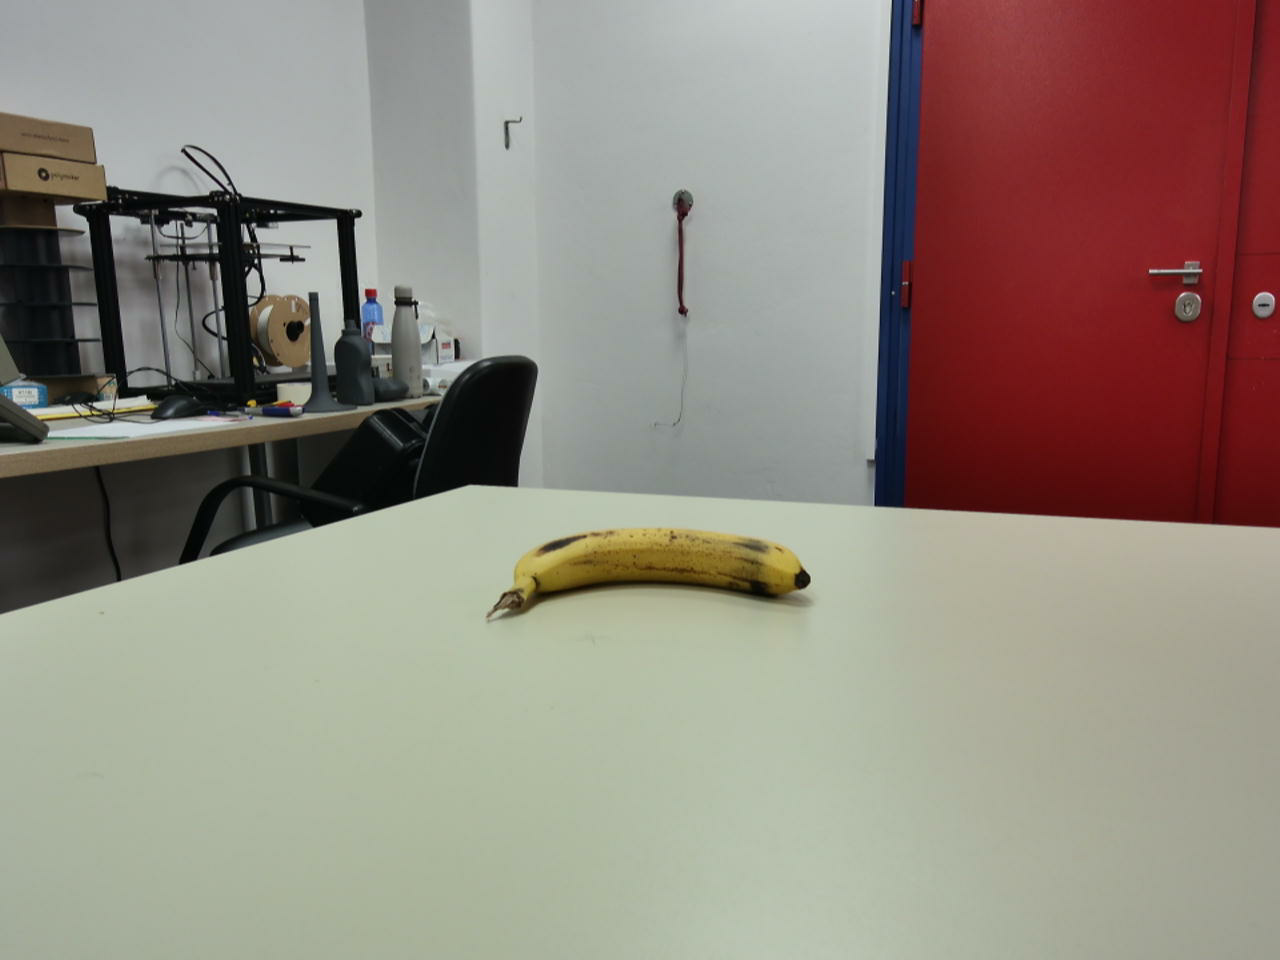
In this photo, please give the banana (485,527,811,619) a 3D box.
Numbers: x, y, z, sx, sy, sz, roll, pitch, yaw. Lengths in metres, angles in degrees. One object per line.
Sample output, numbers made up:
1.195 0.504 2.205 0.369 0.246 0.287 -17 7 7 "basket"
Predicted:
0.005 0.055 0.628 0.186 0.038 0.097 0 7 -4 "banana"
